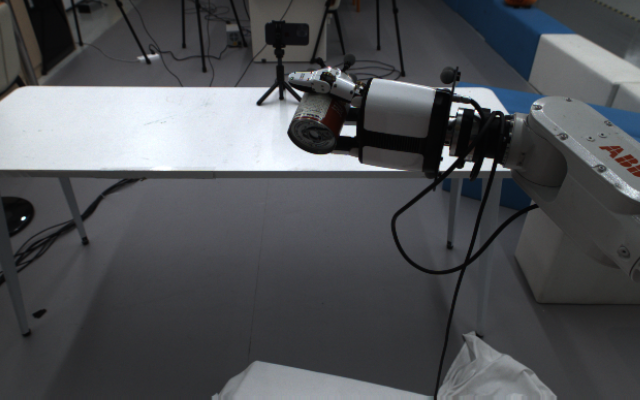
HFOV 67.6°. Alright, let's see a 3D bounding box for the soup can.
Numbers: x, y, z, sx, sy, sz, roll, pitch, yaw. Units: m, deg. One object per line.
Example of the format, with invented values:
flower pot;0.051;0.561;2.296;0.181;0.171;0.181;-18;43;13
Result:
soup can;0.004;-0.123;0.656;0.067;0.067;0.101;12;59;14
